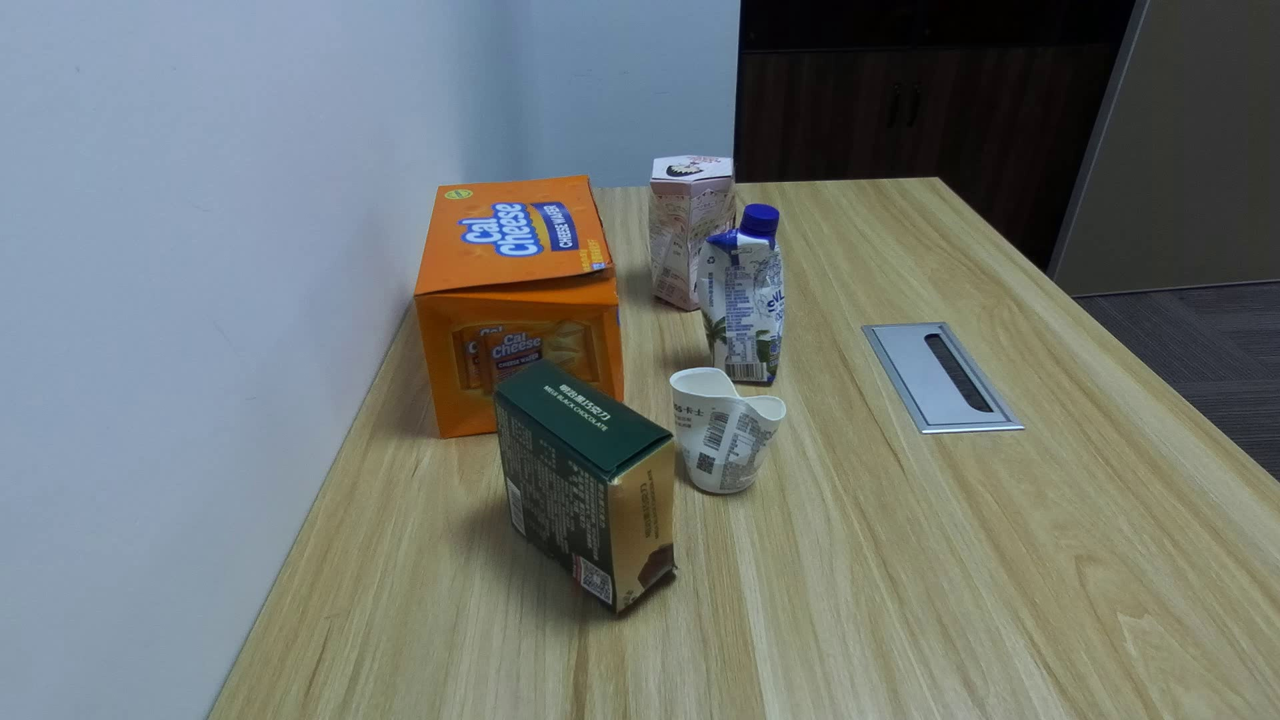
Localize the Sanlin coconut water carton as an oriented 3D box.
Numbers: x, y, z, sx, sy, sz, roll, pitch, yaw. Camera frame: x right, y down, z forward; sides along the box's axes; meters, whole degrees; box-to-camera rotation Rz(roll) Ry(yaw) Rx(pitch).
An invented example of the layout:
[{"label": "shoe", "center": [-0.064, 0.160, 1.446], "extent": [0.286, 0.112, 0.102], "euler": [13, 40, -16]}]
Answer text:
[{"label": "Sanlin coconut water carton", "center": [0.085, -0.056, 0.587], "extent": [0.068, 0.145, 0.057], "euler": [-2, 26, 13]}]

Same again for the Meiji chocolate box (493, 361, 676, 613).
[{"label": "Meiji chocolate box", "center": [-0.034, 0.074, 0.425], "extent": [0.059, 0.116, 0.122], "euler": [-27, 40, -35]}]

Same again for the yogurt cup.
[{"label": "yogurt cup", "center": [0.058, 0.049, 0.488], "extent": [0.075, 0.071, 0.053], "euler": [1, 36, 7]}]

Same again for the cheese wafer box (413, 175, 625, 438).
[{"label": "cheese wafer box", "center": [-0.099, -0.059, 0.609], "extent": [0.150, 0.137, 0.226], "euler": [-5, 33, -7]}]
